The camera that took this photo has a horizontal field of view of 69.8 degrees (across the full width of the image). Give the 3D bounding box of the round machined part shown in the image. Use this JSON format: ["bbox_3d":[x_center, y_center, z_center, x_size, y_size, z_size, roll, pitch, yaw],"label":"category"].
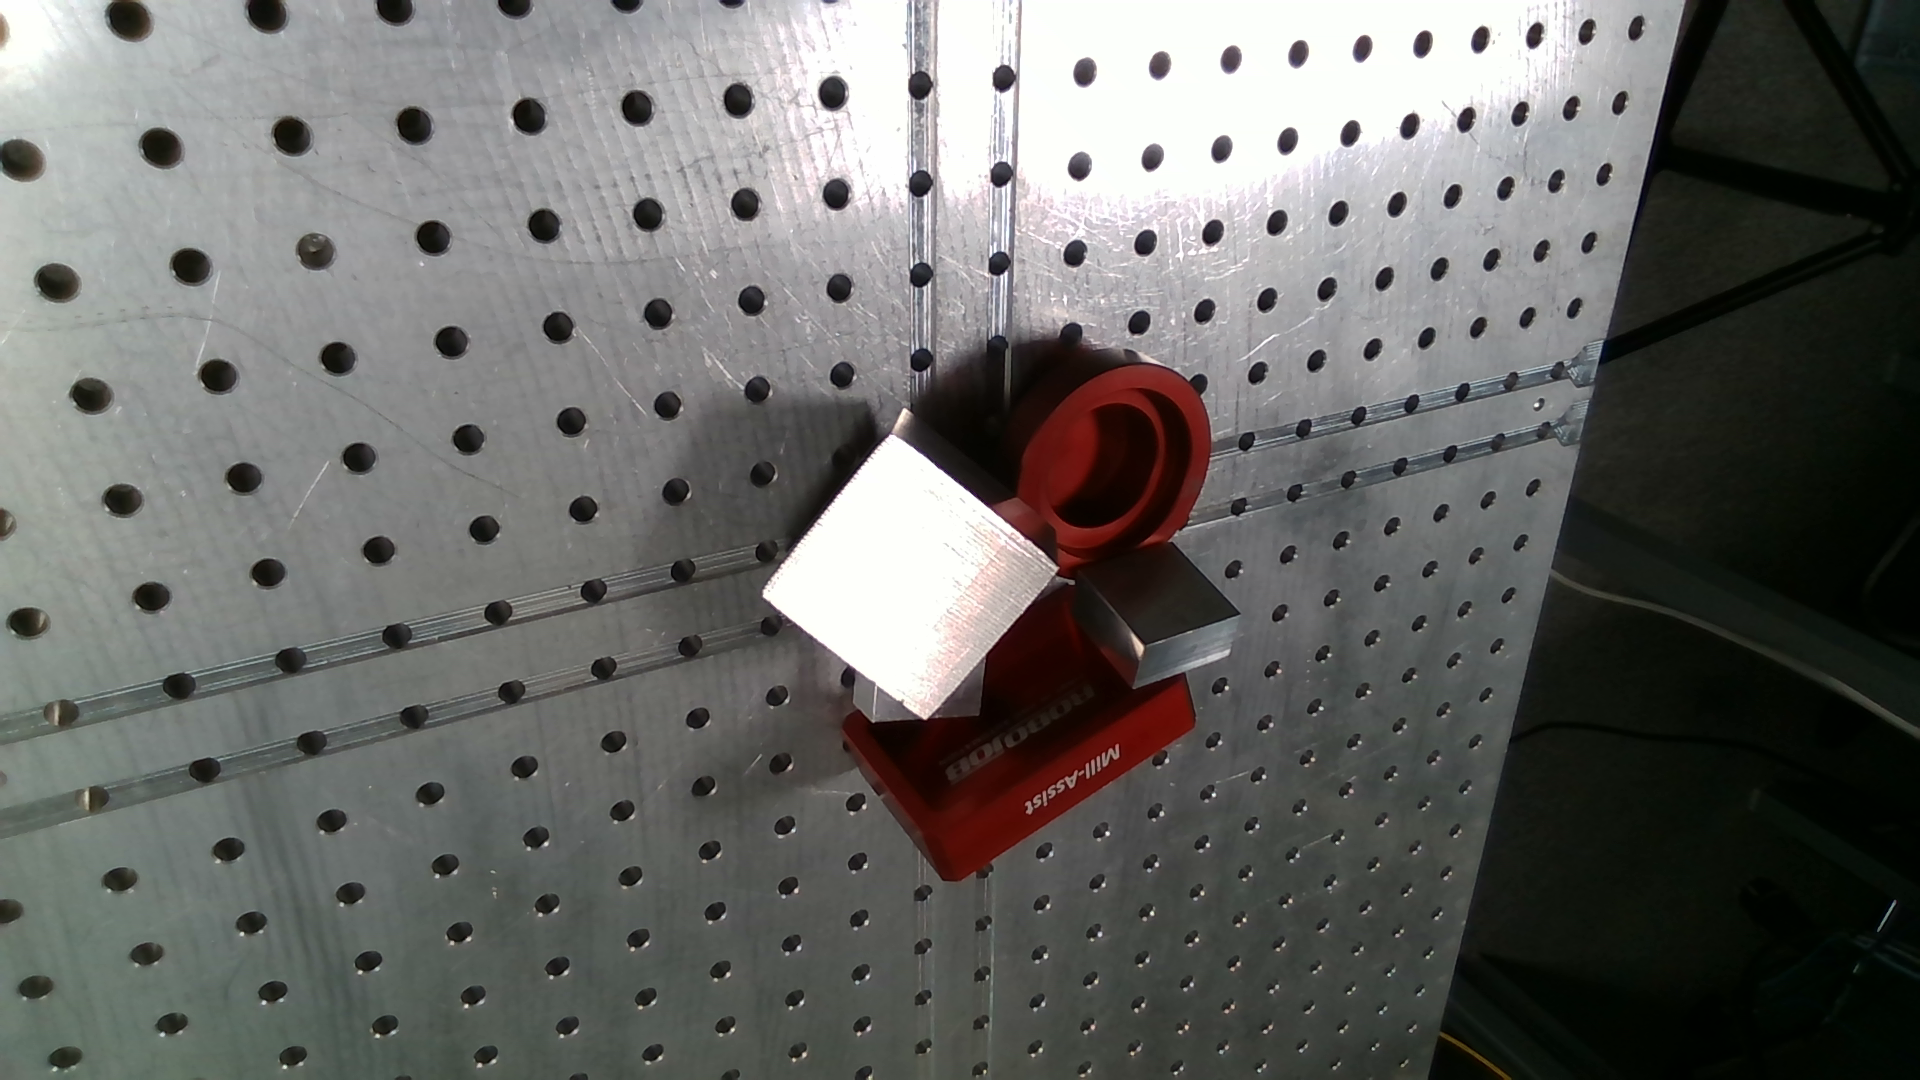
[{"bbox_3d":[0.055,-0.036,0.587,0.098,0.042,0.098,-14,122,-25],"label":"round machined part"}]

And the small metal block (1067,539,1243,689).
[{"bbox_3d":[0.082,0.030,0.581,0.050,0.050,0.025,-15,136,-26],"label":"small metal block"}]

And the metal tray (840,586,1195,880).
[{"bbox_3d":[0.024,0.079,0.600,0.130,0.090,0.030,-30,127,-15],"label":"metal tray"}]

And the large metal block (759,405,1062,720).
[{"bbox_3d":[-0.017,0.007,0.532,0.080,0.050,0.080,38,105,-8],"label":"large metal block"}]

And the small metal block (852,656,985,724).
[{"bbox_3d":[-0.017,0.050,0.594,0.050,0.025,0.050,-1,104,-26],"label":"small metal block"}]
